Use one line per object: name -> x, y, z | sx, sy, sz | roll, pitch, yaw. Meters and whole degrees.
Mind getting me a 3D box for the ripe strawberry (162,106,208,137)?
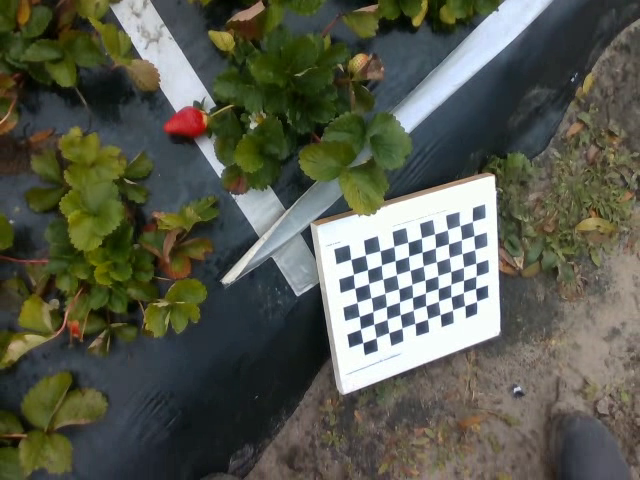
ripe strawberry -> -0.156, -0.135, 0.690 | 0.051, 0.042, 0.037 | -21, 28, -19
